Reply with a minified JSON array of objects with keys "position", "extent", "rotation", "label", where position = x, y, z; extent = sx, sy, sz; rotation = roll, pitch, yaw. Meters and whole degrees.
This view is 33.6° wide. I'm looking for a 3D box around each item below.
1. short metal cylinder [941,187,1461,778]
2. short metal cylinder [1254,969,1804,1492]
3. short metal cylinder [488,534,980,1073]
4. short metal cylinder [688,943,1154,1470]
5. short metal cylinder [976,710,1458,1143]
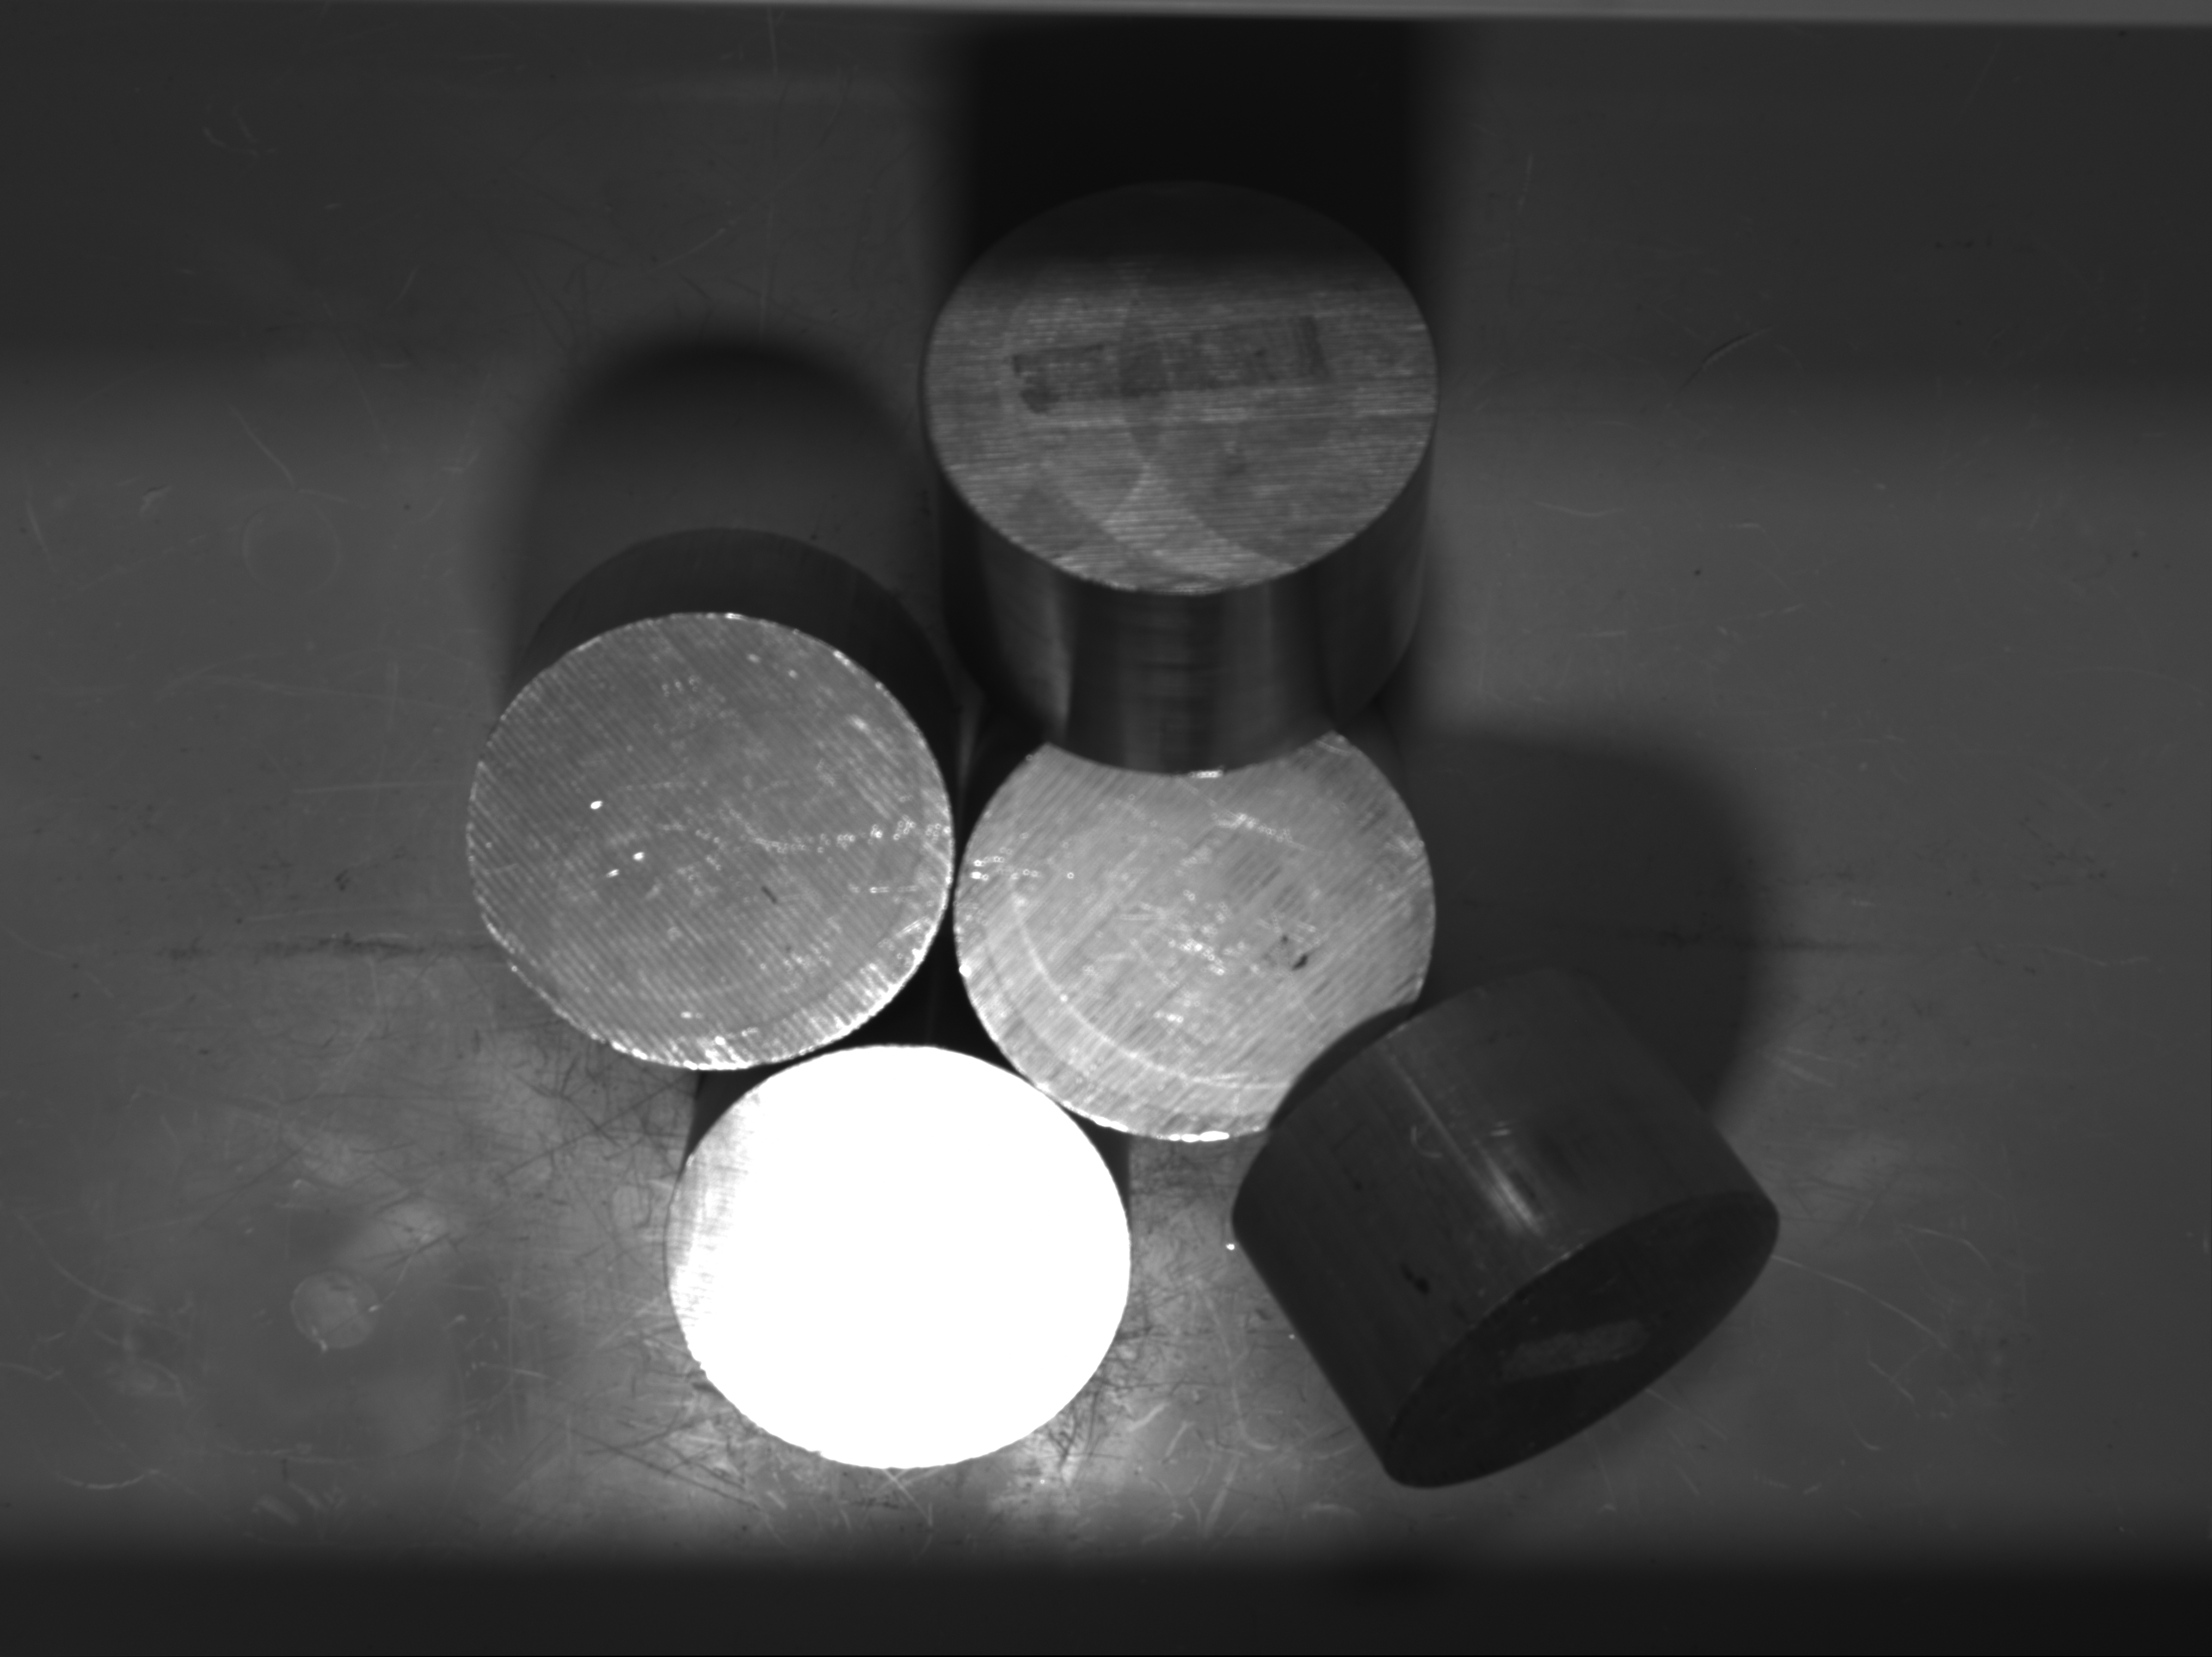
[{"position":[0.015,-0.055,0.585],"extent":[0.080,0.080,0.050],"rotation":[-3,148,0],"label":"short metal cylinder"},{"position":[0.073,0.070,0.633],"extent":[0.080,0.050,0.080],"rotation":[-25,149,-16],"label":"short metal cylinder"},{"position":[-0.062,-0.005,0.625],"extent":[0.080,0.050,0.080],"rotation":[0,110,-1],"label":"short metal cylinder"},{"position":[-0.032,0.066,0.652],"extent":[0.080,0.050,0.080],"rotation":[0,110,-1],"label":"short metal cylinder"},{"position":[0.018,0.007,0.631],"extent":[0.080,0.050,0.080],"rotation":[0,110,-1],"label":"short metal cylinder"}]
